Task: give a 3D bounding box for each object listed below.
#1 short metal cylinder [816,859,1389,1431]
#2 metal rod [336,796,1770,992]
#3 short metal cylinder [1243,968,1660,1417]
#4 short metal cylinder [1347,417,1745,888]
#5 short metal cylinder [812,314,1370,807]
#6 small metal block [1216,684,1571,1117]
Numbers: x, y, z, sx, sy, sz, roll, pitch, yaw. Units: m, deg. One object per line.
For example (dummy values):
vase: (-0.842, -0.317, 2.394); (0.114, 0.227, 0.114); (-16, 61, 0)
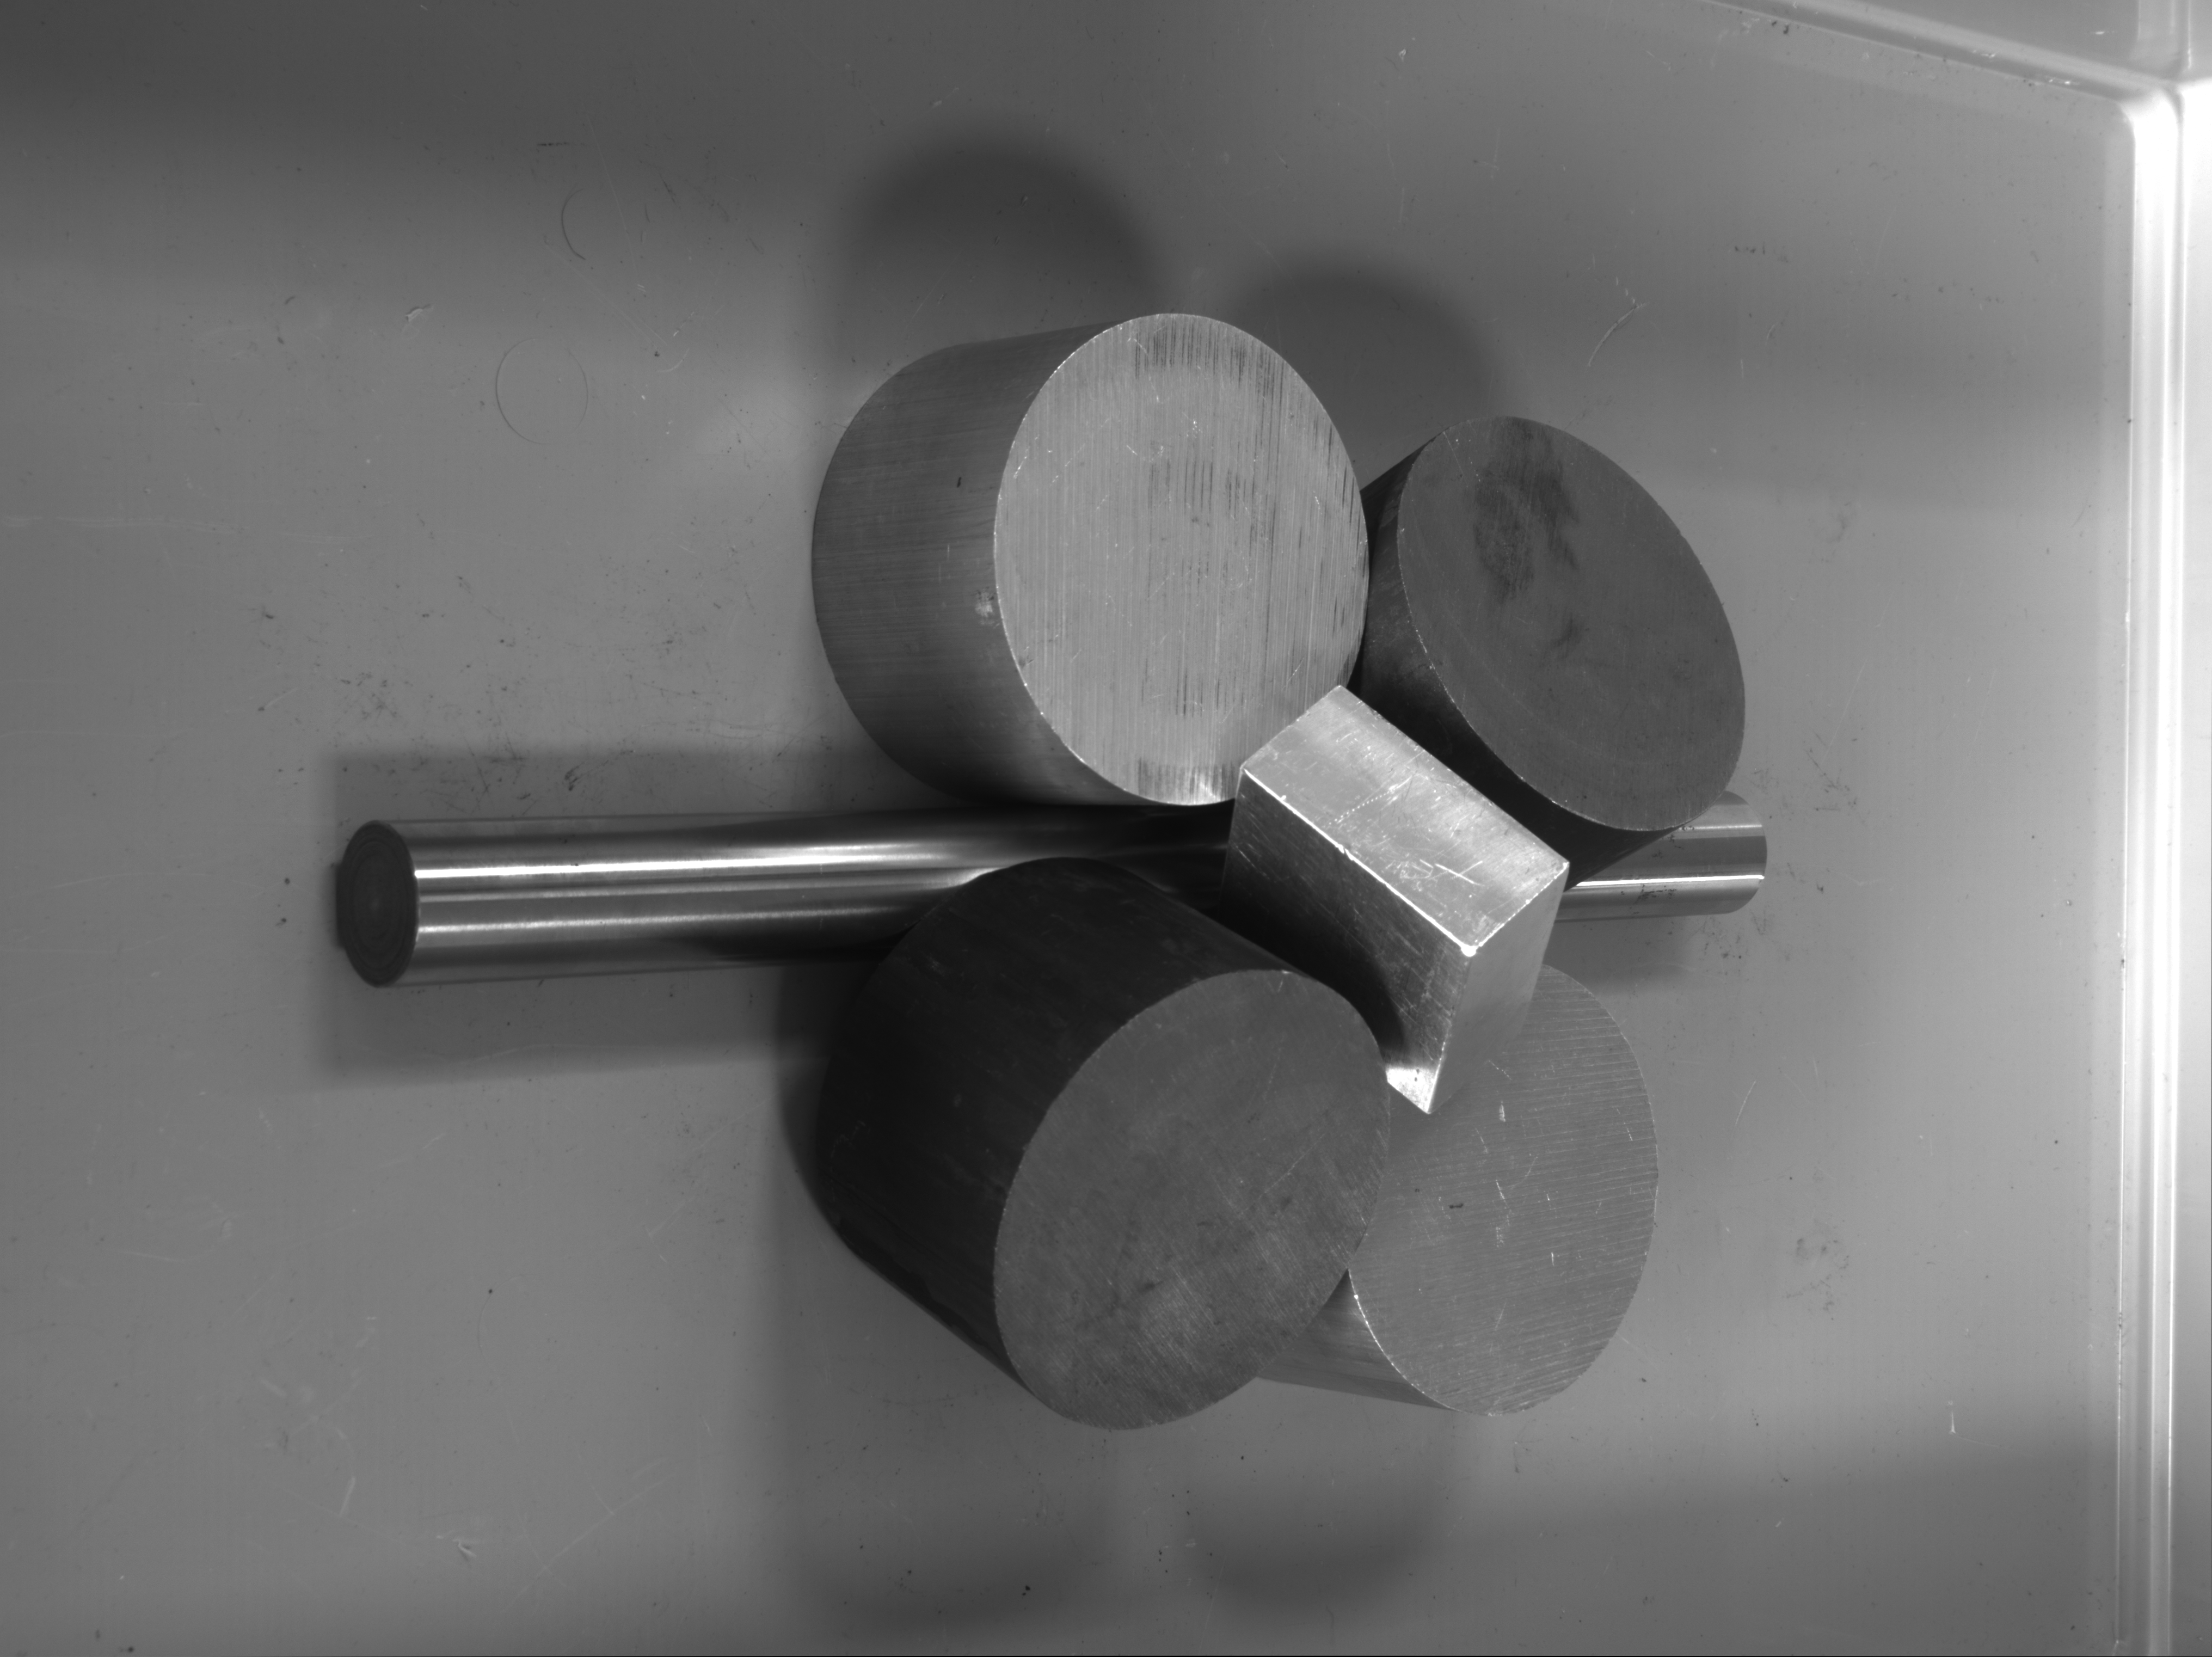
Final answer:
short metal cylinder: (0.000, 0.051, 0.603); (0.080, 0.050, 0.080); (-18, 121, -33)
metal rod: (0.008, 0.008, 0.640); (0.301, 0.025, 0.025); (-2, 91, -40)
short metal cylinder: (0.054, 0.063, 0.663); (0.080, 0.050, 0.080); (0, 90, -40)
short metal cylinder: (0.068, -0.026, 0.658); (0.080, 0.050, 0.080); (19, 56, -30)
short metal cylinder: (-0.002, -0.043, 0.617); (0.080, 0.050, 0.080); (0, 90, -40)
small metal block: (0.046, 0.012, 0.611); (0.025, 0.050, 0.050); (-39, 156, -26)
